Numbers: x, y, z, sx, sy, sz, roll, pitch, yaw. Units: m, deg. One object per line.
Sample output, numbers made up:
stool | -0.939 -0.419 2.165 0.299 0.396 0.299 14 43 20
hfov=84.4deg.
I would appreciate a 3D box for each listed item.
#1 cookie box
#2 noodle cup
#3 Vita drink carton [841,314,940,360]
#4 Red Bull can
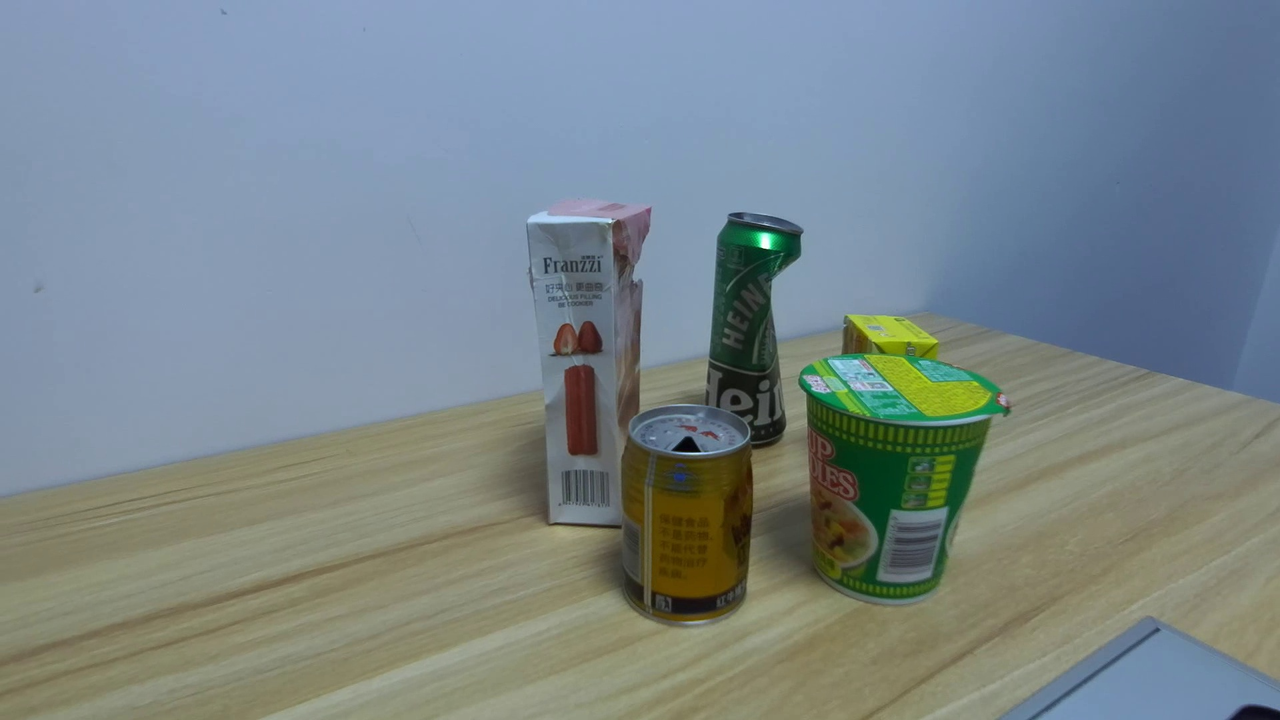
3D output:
cookie box | -0.028 0.000 0.436 0.105 0.059 0.186 -60 -26 -69
noodle cup | 0.128 0.062 0.366 0.097 0.097 0.110 -99 8 -71
Vita drink carton | 0.192 -0.001 0.465 0.076 0.109 0.043 -97 10 -68
Red Bull can | 0.023 0.075 0.356 0.068 0.068 0.093 -98 7 -70
